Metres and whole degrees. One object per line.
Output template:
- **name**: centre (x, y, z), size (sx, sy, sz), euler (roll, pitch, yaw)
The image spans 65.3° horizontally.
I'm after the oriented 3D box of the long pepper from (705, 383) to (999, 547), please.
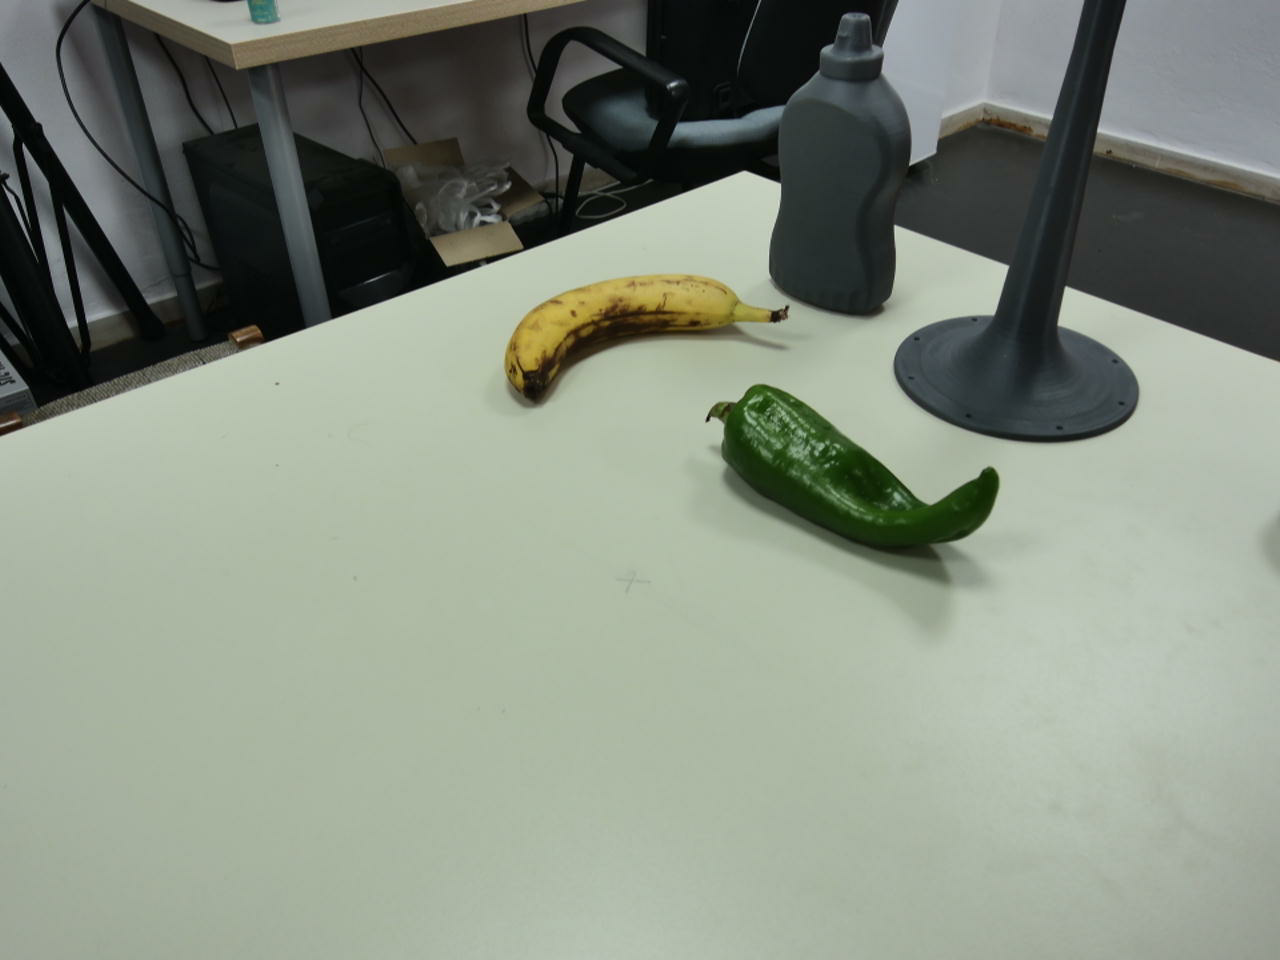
- **long pepper**: centre (0.101, -0.011, 0.526), size (0.058, 0.065, 0.175), euler (-28, 44, -32)
